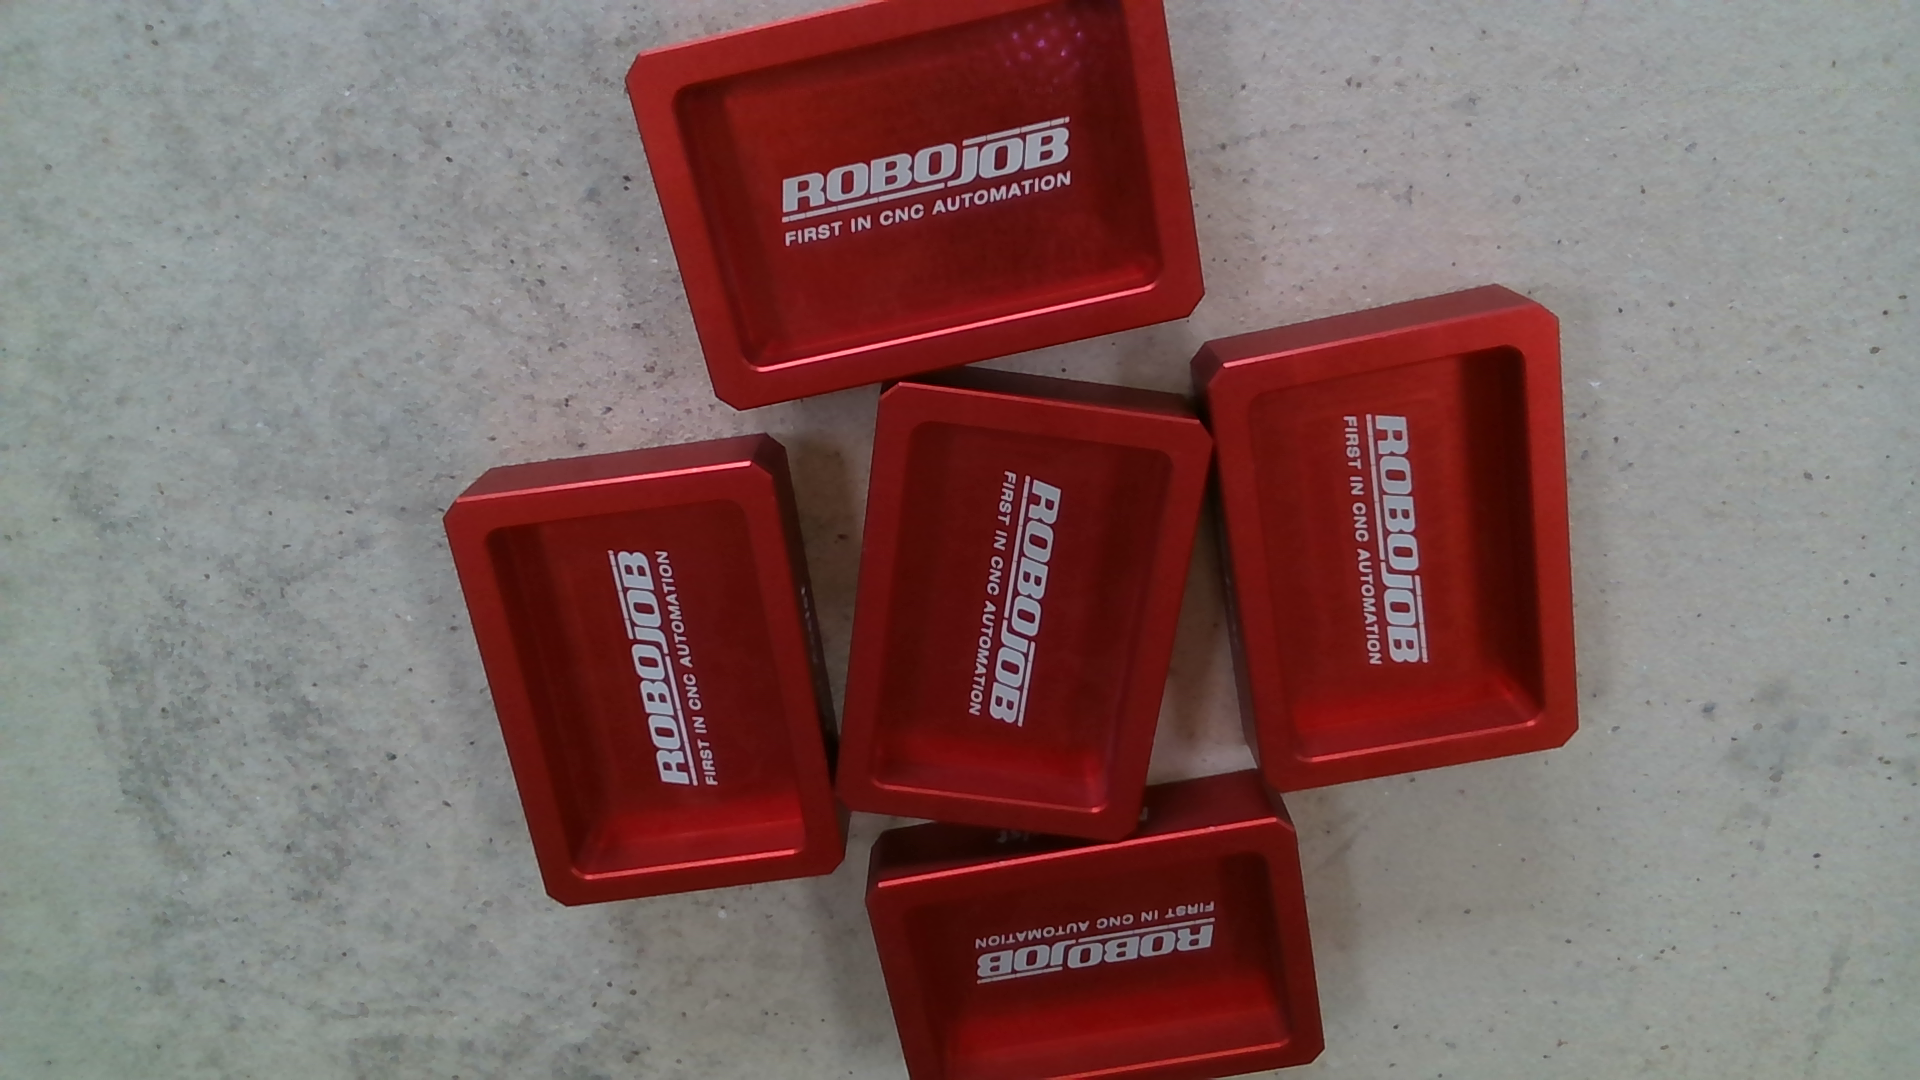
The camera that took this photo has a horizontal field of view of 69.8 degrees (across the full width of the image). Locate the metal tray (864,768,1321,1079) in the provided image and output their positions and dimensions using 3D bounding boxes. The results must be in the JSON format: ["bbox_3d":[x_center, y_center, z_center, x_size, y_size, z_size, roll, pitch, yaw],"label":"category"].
[{"bbox_3d":[0.042,0.128,0.438,0.130,0.030,0.090,-10,109,4],"label":"metal tray"}]

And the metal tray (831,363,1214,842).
[{"bbox_3d":[0.015,0.018,0.397,0.090,0.030,0.130,8,109,-1],"label":"metal tray"}]

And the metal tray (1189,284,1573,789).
[{"bbox_3d":[0.120,0.001,0.391,0.090,0.030,0.130,-10,109,4],"label":"metal tray"}]

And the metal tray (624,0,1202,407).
[{"bbox_3d":[-0.010,-0.093,0.356,0.130,0.030,0.090,-11,109,4],"label":"metal tray"}]

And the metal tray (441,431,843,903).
[{"bbox_3d":[-0.088,0.039,0.405,0.090,0.030,0.130,-7,110,2],"label":"metal tray"}]
